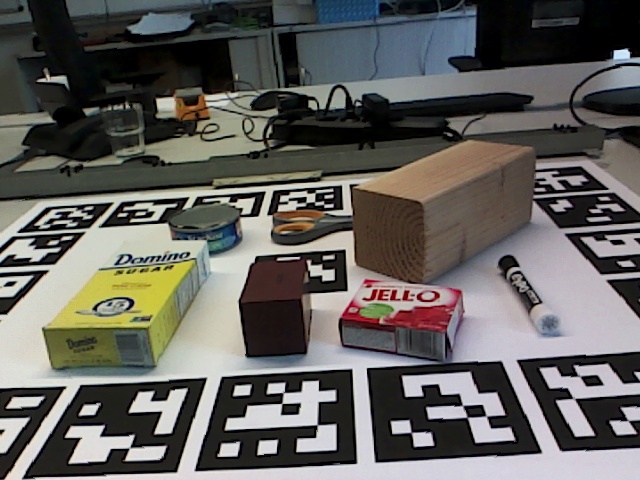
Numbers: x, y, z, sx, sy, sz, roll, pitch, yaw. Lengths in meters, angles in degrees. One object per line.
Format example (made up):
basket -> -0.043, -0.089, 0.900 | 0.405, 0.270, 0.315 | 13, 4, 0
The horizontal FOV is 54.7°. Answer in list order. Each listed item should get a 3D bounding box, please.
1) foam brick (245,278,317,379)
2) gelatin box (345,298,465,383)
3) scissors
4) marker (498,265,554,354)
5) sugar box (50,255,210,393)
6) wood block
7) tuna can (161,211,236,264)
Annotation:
foam brick -> -0.031, 0.075, 0.533 | 0.053, 0.051, 0.078 | -5, 26, 5
gelatin box -> 0.074, 0.082, 0.526 | 0.090, 0.030, 0.073 | 3, 28, 20
scissors -> 0.029, -0.011, 0.746 | 0.203, 0.016, 0.088 | -4, 26, 11
marker -> 0.183, 0.058, 0.558 | 0.019, 0.019, 0.121 | -5, 28, 4
sugar box -> -0.171, 0.073, 0.591 | 0.093, 0.045, 0.176 | -3, 26, 6
wood block -> 0.142, -0.025, 0.668 | 0.090, 0.091, 0.205 | 17, 34, 42
tuna can -> -0.145, -0.002, 0.743 | 0.086, 0.033, 0.086 | -6, 26, 2
